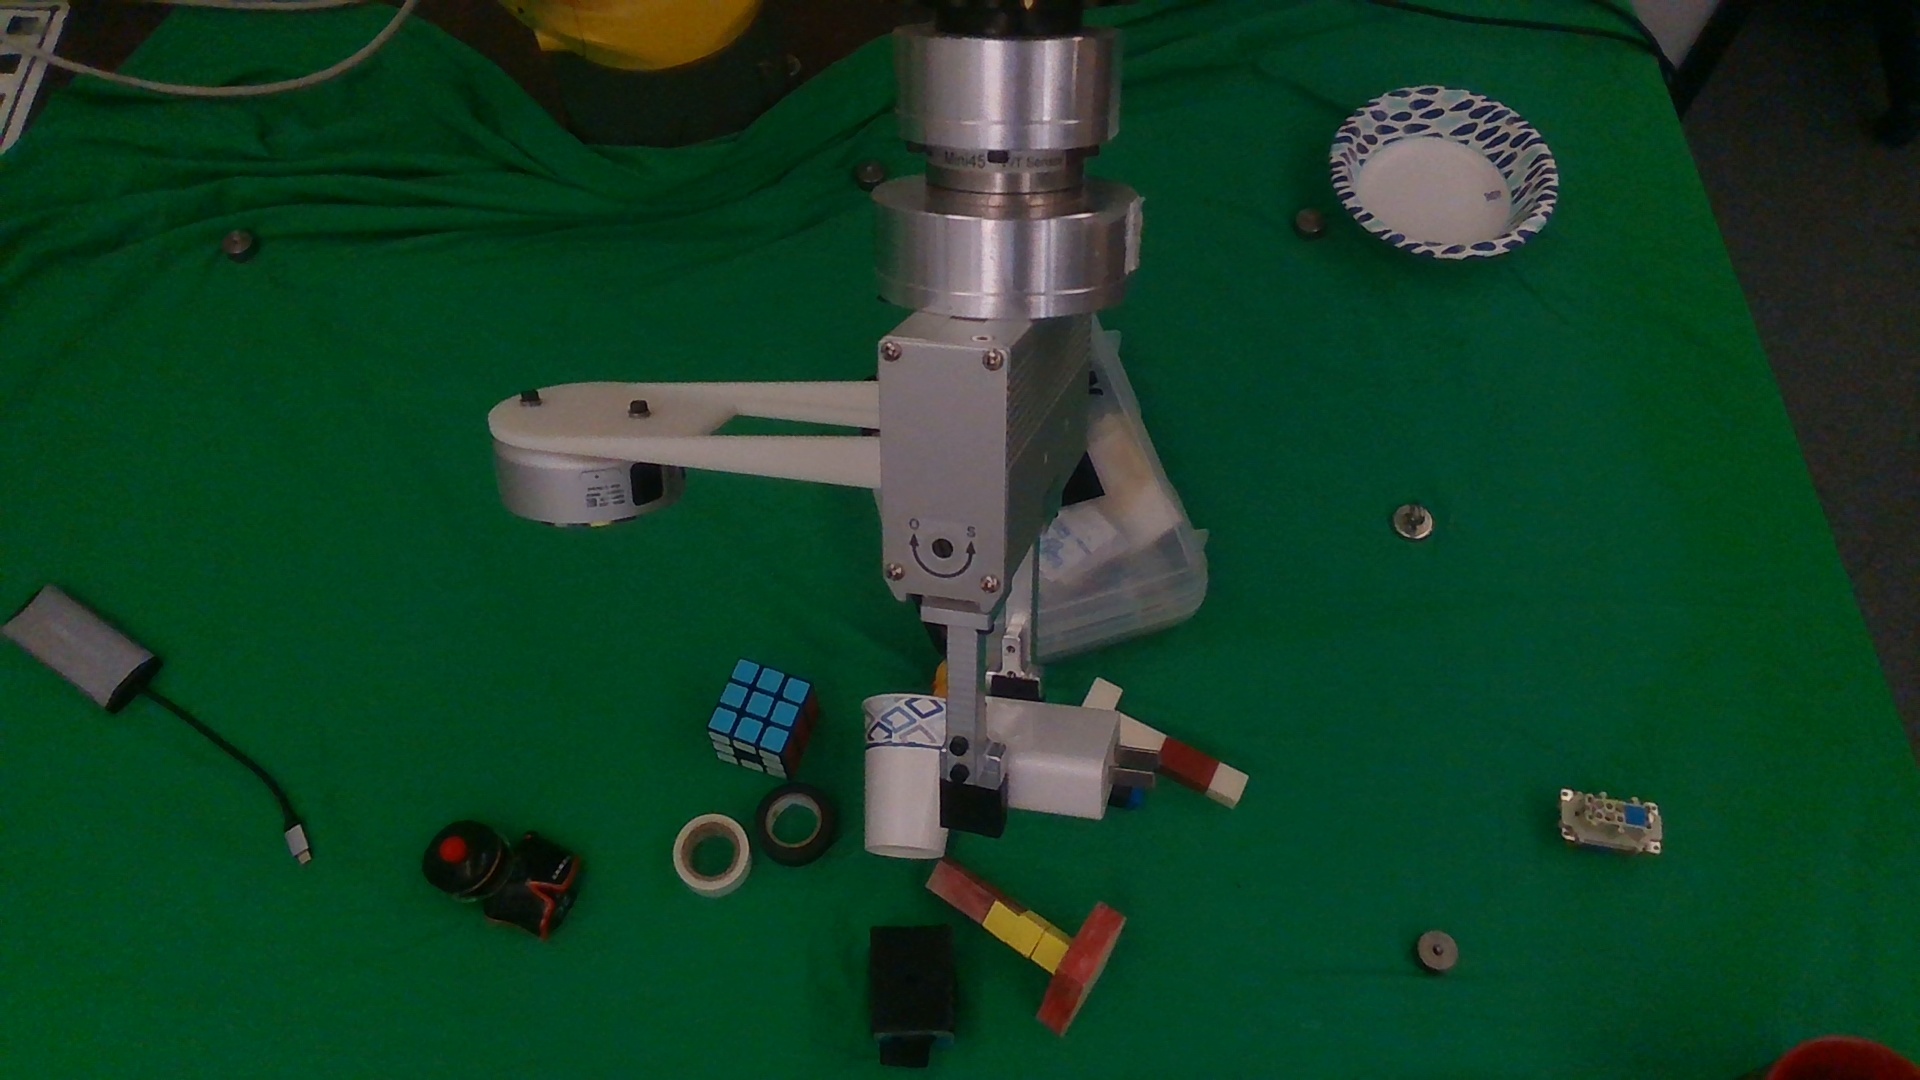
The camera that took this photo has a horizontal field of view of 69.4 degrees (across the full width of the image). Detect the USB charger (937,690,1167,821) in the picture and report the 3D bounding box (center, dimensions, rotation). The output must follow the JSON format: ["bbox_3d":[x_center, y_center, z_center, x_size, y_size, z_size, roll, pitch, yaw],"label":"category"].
[{"bbox_3d":[0.031,0.074,0.472,0.076,0.029,0.044,6,25,12],"label":"USB charger"}]

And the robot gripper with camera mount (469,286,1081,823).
[{"bbox_3d":[-0.070,0.004,0.454,0.194,0.158,0.119,7,26,12],"label":"robot gripper with camera mount"}]
